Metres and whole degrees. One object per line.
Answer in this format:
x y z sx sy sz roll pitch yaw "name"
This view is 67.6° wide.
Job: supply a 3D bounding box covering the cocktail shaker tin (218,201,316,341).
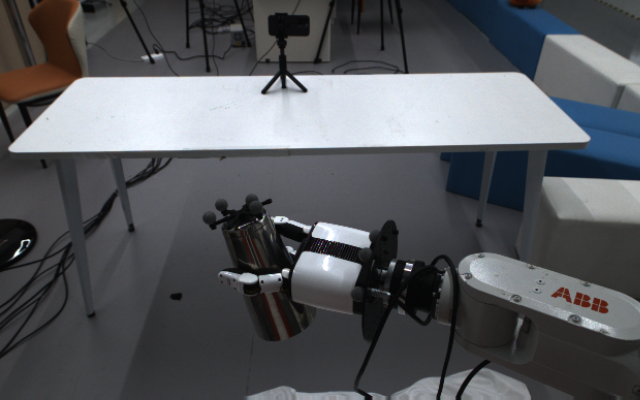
-0.075 0.100 0.674 0.093 0.170 0.093 -17 21 7 "cocktail shaker tin"
